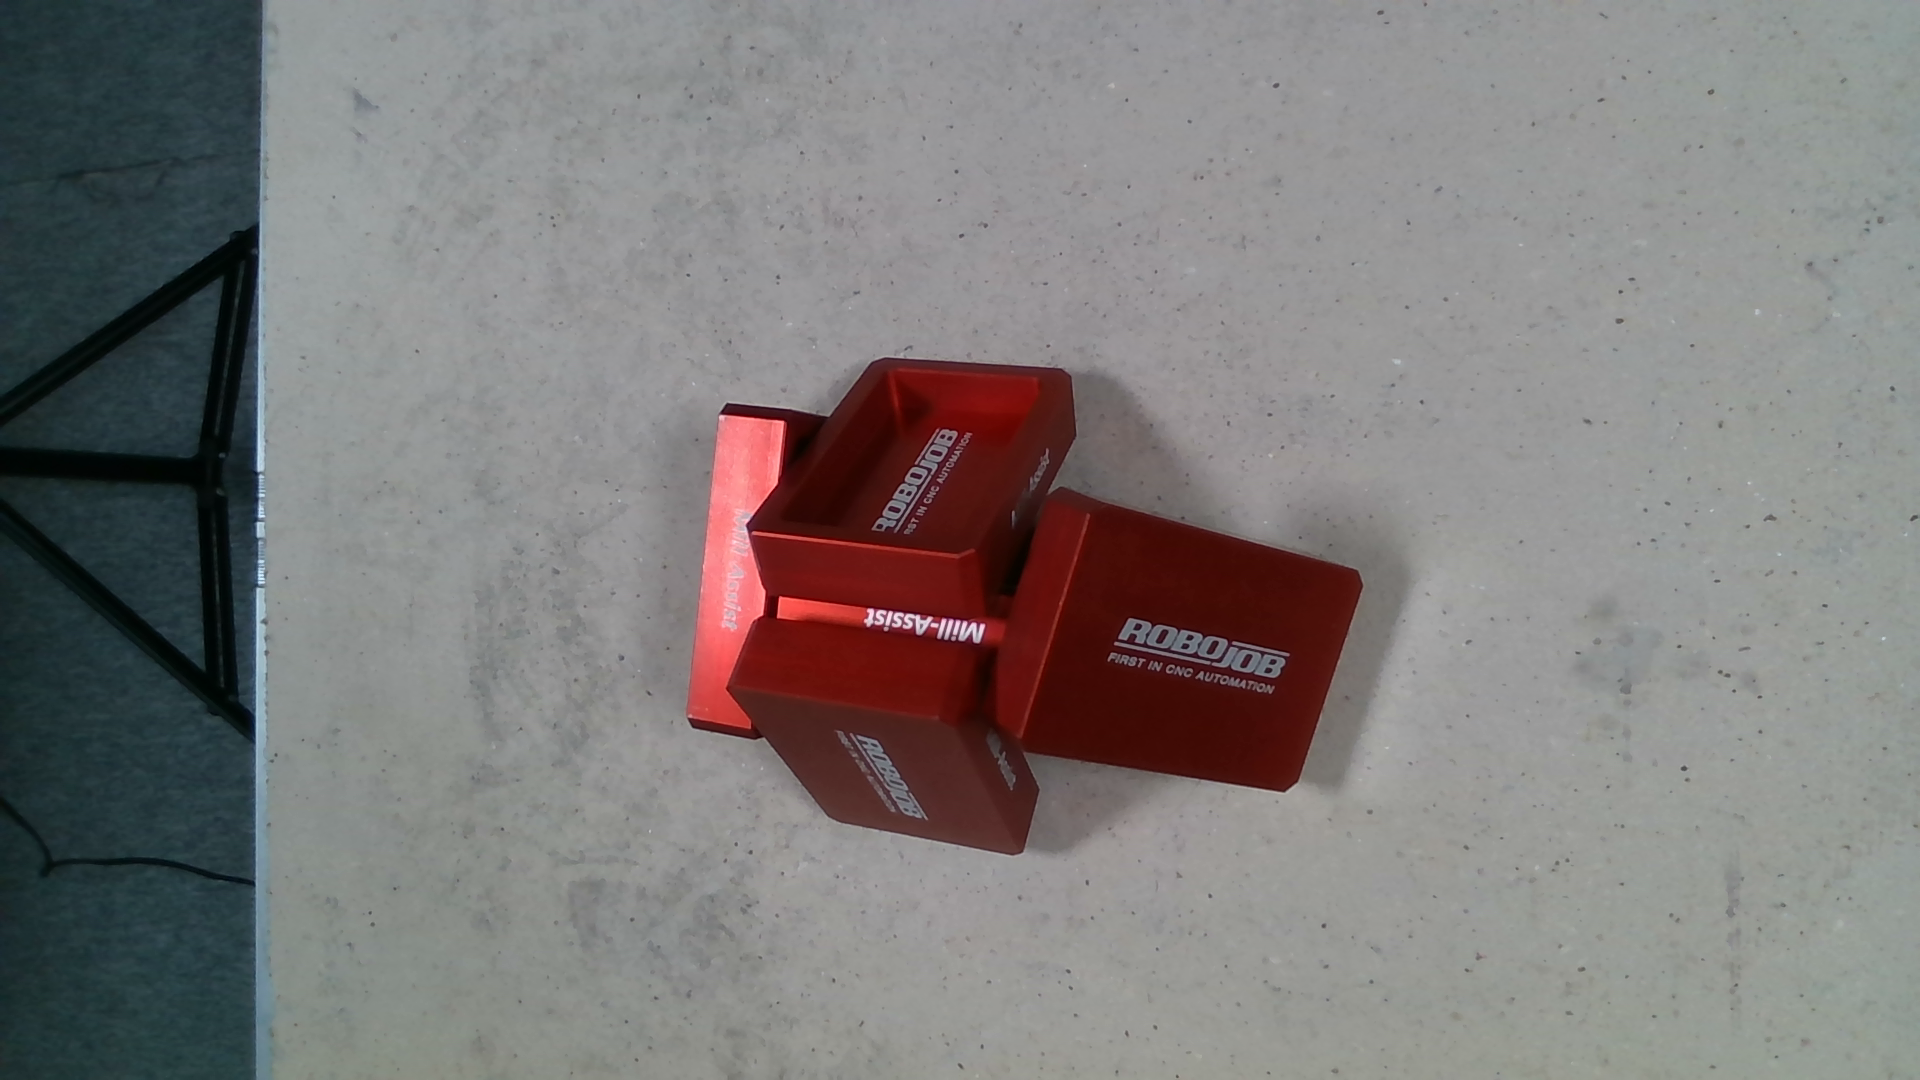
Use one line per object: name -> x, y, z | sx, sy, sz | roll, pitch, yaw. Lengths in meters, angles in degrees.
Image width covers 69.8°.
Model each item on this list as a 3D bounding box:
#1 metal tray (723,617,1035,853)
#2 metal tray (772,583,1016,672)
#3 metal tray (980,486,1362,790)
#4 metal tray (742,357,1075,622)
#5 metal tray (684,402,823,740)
metal tray -> -0.027, 0.080, 0.543 | 0.090, 0.130, 0.030 | 6, 59, 20
metal tray -> 0.001, 0.031, 0.550 | 0.130, 0.090, 0.030 | 7, 93, 20
metal tray -> 0.080, 0.039, 0.507 | 0.030, 0.130, 0.090 | 28, 103, 60
metal tray -> -0.016, -0.025, 0.540 | 0.090, 0.130, 0.030 | 6, 129, 20
metal tray -> -0.073, 0.012, 0.578 | 0.030, 0.090, 0.130 | 8, 93, 20
